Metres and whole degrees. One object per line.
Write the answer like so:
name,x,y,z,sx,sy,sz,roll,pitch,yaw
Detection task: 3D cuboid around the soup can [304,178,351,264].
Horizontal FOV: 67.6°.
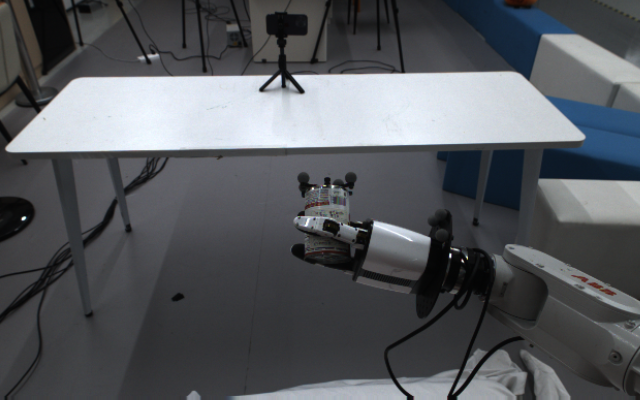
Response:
soup can,0.011,0.037,0.697,0.067,0.067,0.101,1,73,-2
